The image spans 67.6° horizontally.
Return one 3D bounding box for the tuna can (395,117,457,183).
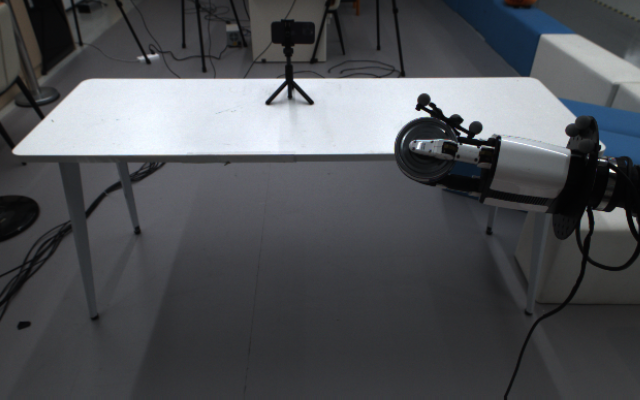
[{"bbox_3d":[0.146,-0.070,0.658,0.085,0.085,0.034,13,-4,15],"label":"tuna can"}]
